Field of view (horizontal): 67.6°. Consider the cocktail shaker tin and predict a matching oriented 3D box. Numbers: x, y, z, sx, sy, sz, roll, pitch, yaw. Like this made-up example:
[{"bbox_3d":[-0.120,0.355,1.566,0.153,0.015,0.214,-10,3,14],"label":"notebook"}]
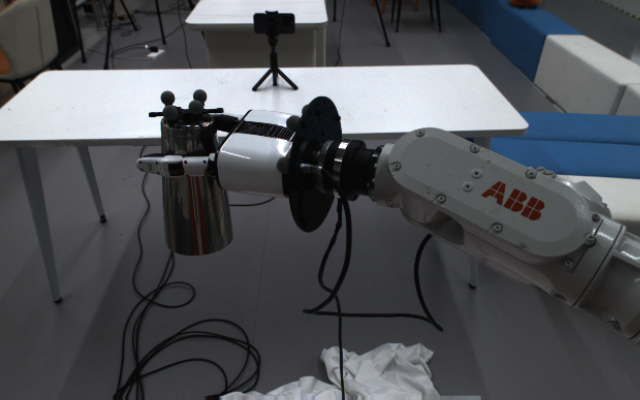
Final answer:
[{"bbox_3d":[-0.163,-0.027,0.635,0.093,0.170,0.093,1,27,-1],"label":"cocktail shaker tin"}]
